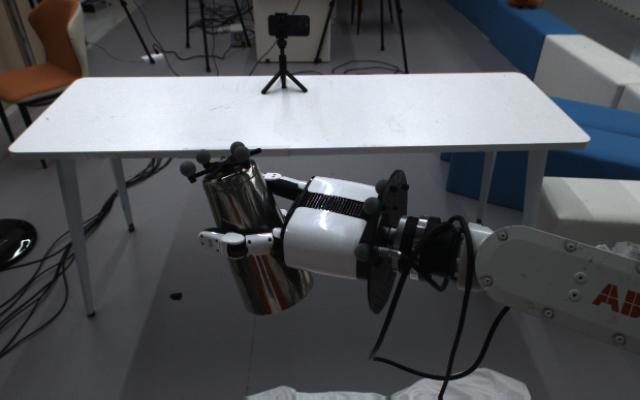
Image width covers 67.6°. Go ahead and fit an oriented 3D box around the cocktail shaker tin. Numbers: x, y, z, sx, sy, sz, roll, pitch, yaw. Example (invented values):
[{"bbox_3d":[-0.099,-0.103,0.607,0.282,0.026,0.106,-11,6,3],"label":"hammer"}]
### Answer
[{"bbox_3d":[-0.077,0.042,0.582,0.093,0.170,0.093,-17,21,7],"label":"cocktail shaker tin"}]
